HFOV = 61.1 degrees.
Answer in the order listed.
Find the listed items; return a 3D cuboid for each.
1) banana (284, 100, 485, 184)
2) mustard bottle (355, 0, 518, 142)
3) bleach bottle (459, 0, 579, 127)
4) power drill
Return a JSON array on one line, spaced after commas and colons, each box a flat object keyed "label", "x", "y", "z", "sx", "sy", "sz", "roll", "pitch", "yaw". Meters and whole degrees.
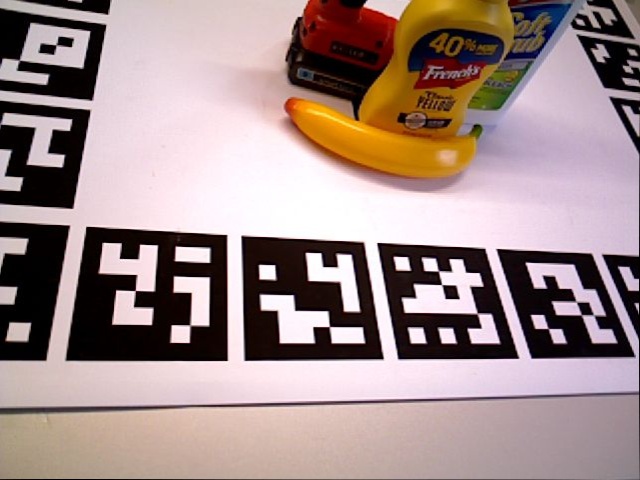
[{"label": "banana", "x": 0.063, "y": -0.089, "z": 0.495, "sx": 0.196, "sy": 0.040, "sz": 0.073, "roll": 7, "pitch": 59, "yaw": -10}, {"label": "mustard bottle", "x": 0.102, "y": -0.158, "z": 0.442, "sx": 0.095, "sy": 0.196, "sz": 0.058, "roll": 4, "pitch": 58, "yaw": -15}, {"label": "bleach bottle", "x": 0.171, "y": -0.215, "z": 0.468, "sx": 0.101, "sy": 0.257, "sz": 0.067, "roll": 6, "pitch": 52, "yaw": -13}, {"label": "power drill", "x": 0.063, "y": -0.232, "z": 0.450, "sx": 0.183, "sy": 0.191, "sz": 0.056, "roll": 15, "pitch": 55, "yaw": -9}]
